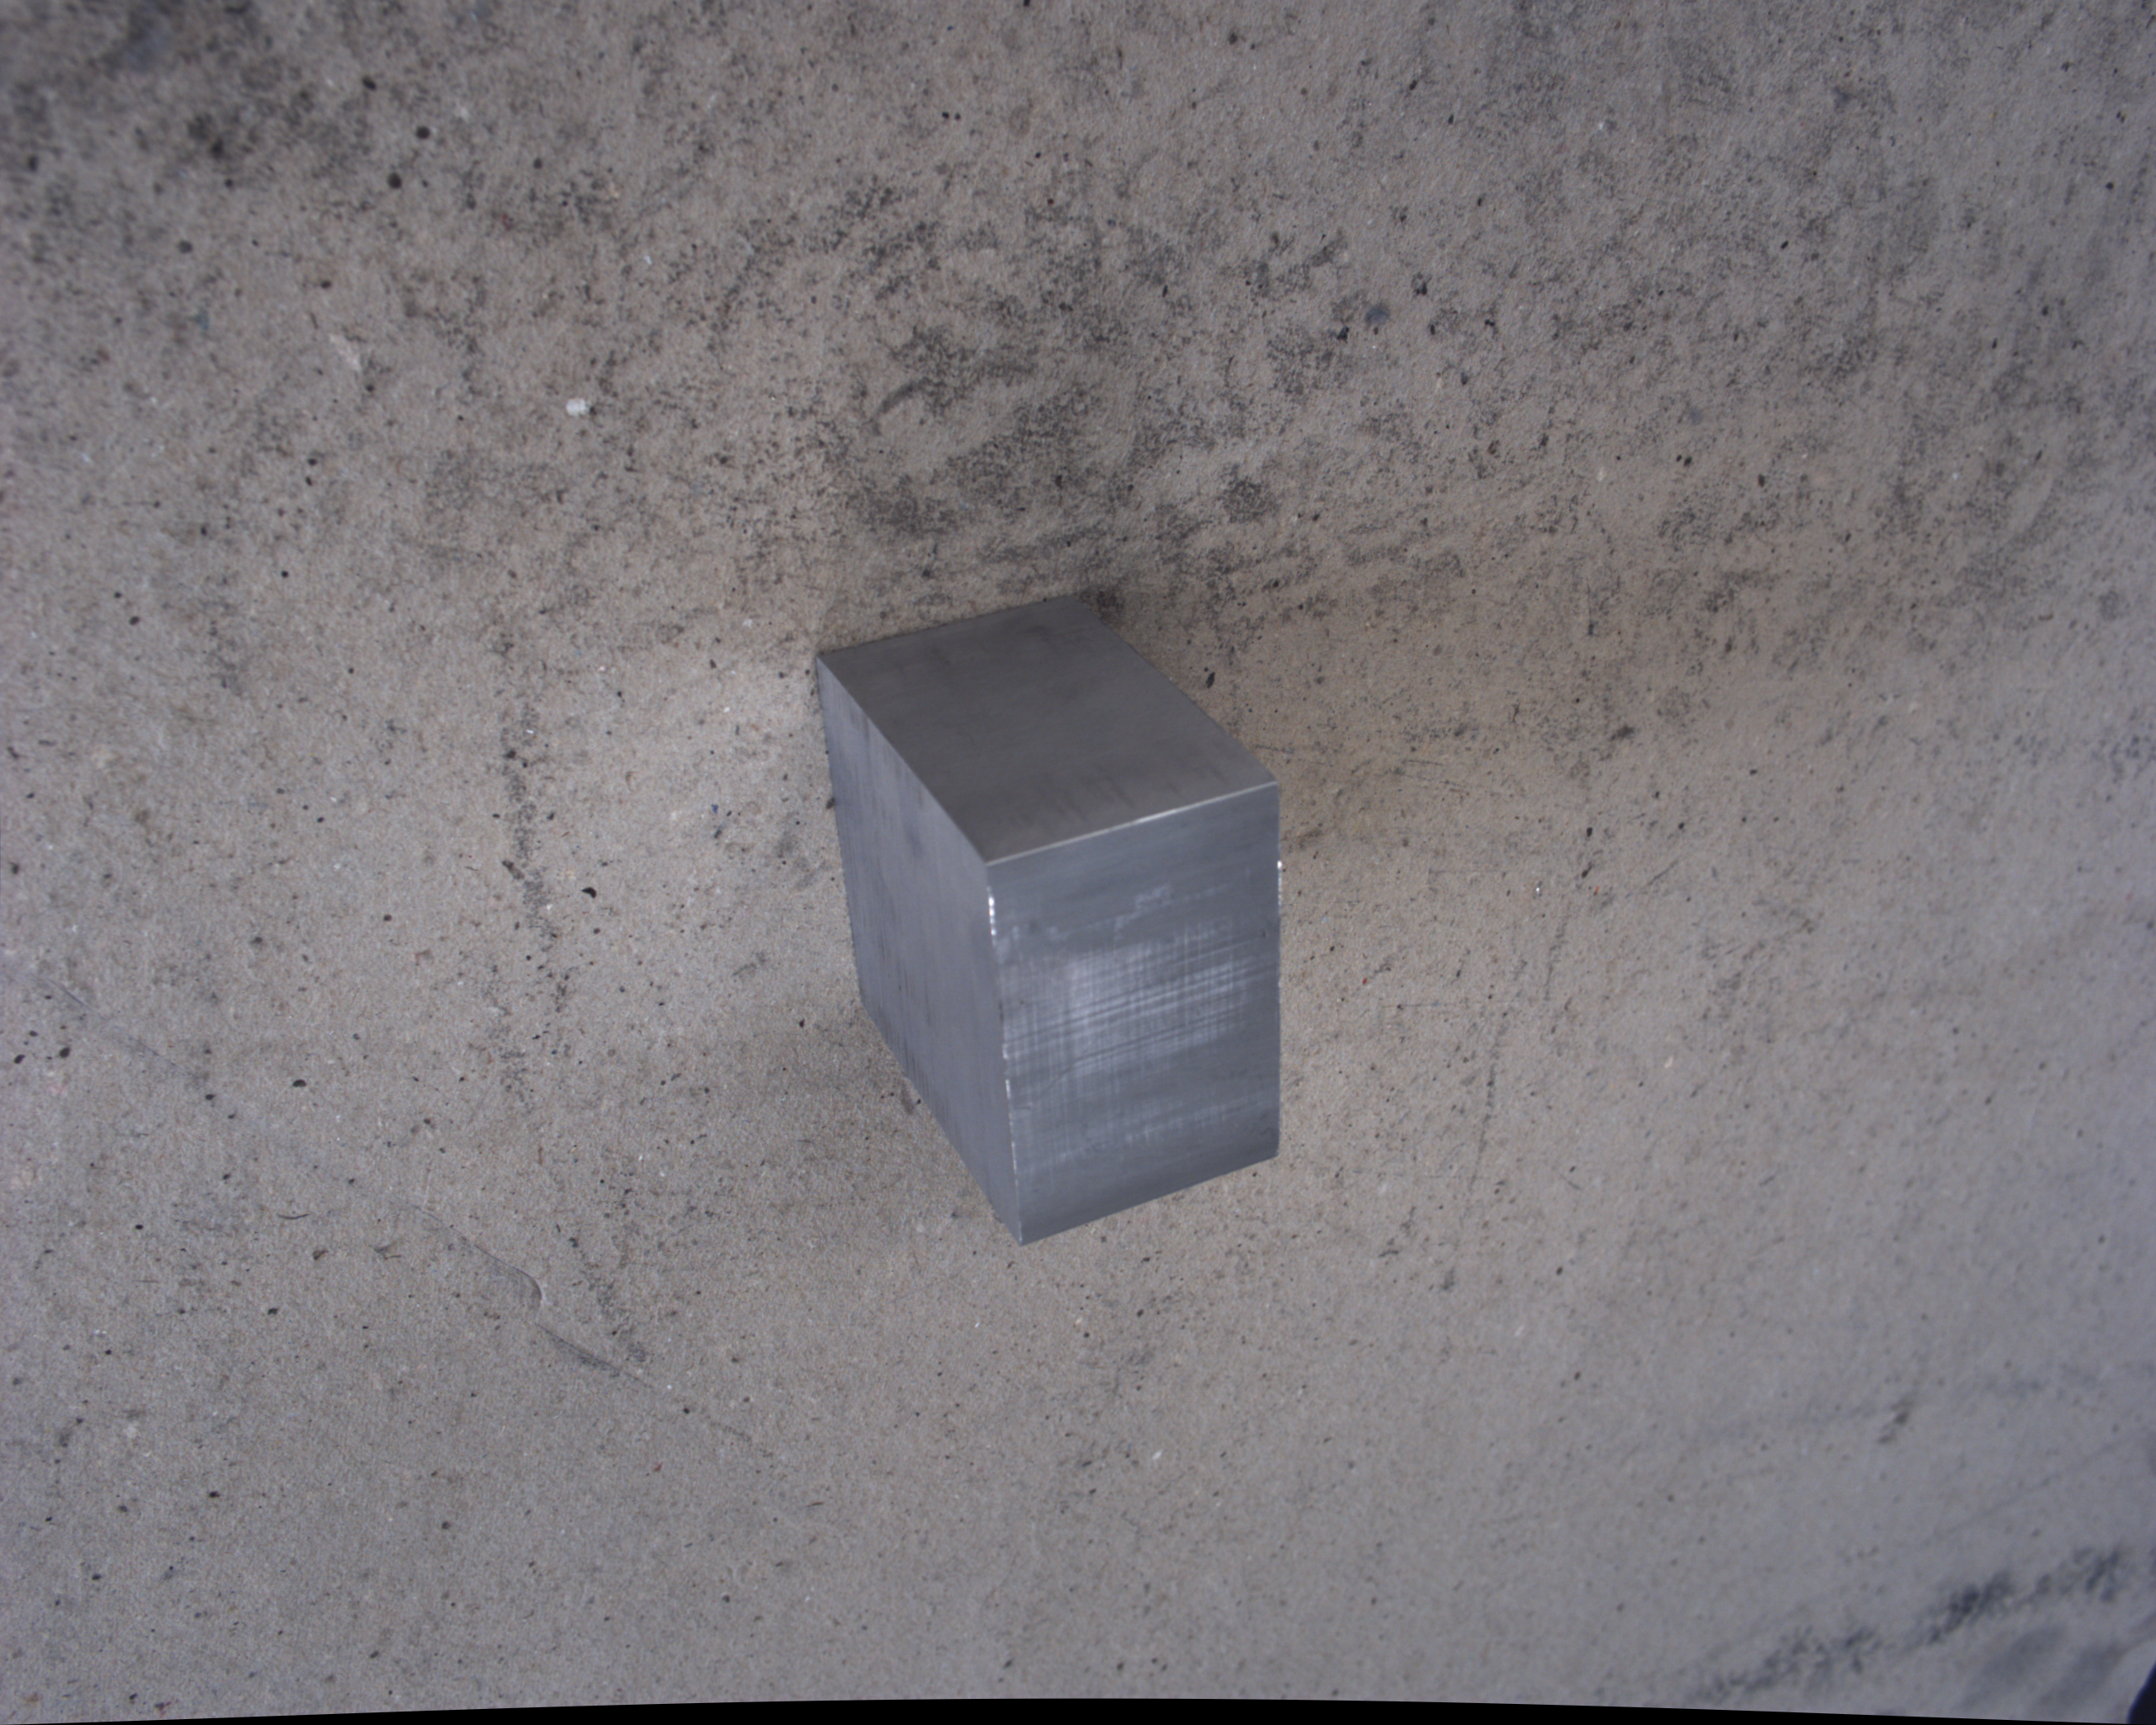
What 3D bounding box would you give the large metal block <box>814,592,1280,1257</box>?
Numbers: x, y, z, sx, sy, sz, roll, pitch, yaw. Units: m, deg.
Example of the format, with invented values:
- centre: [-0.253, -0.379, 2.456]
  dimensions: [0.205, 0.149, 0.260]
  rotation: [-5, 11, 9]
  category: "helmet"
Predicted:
- centre: [-0.006, 0.008, 0.373]
  dimensions: [0.050, 0.080, 0.080]
  rotation: [-16, 125, -19]
  category: "large metal block"
